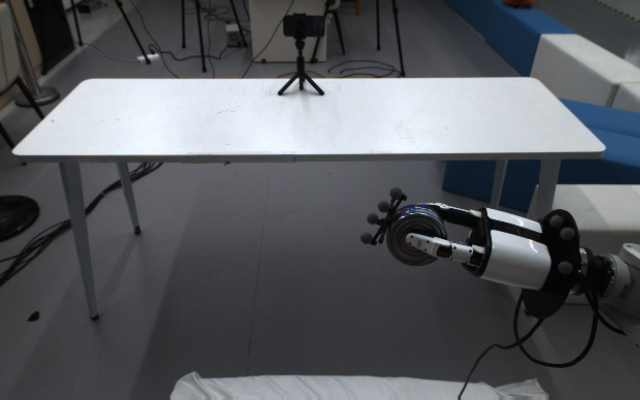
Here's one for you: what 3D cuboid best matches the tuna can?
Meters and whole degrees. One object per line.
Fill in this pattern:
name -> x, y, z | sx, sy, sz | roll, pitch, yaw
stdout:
tuna can -> 0.141, 0.048, 0.695 | 0.085, 0.085, 0.034 | 3, 20, 1
